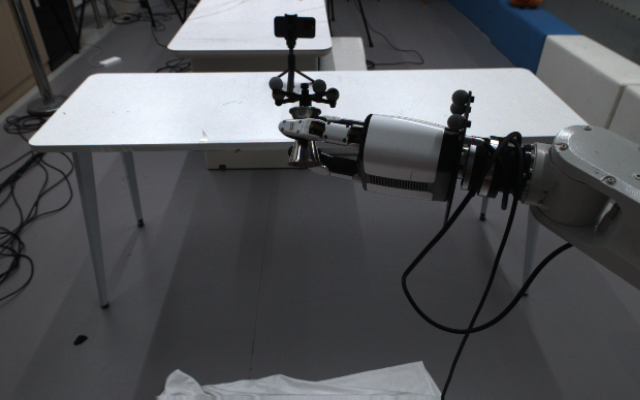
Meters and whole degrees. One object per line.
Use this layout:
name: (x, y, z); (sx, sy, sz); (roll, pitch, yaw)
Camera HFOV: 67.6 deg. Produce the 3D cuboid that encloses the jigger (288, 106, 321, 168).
jigger: (-0.020, -0.077, 0.597); (0.043, 0.071, 0.043); (1, -5, 0)
